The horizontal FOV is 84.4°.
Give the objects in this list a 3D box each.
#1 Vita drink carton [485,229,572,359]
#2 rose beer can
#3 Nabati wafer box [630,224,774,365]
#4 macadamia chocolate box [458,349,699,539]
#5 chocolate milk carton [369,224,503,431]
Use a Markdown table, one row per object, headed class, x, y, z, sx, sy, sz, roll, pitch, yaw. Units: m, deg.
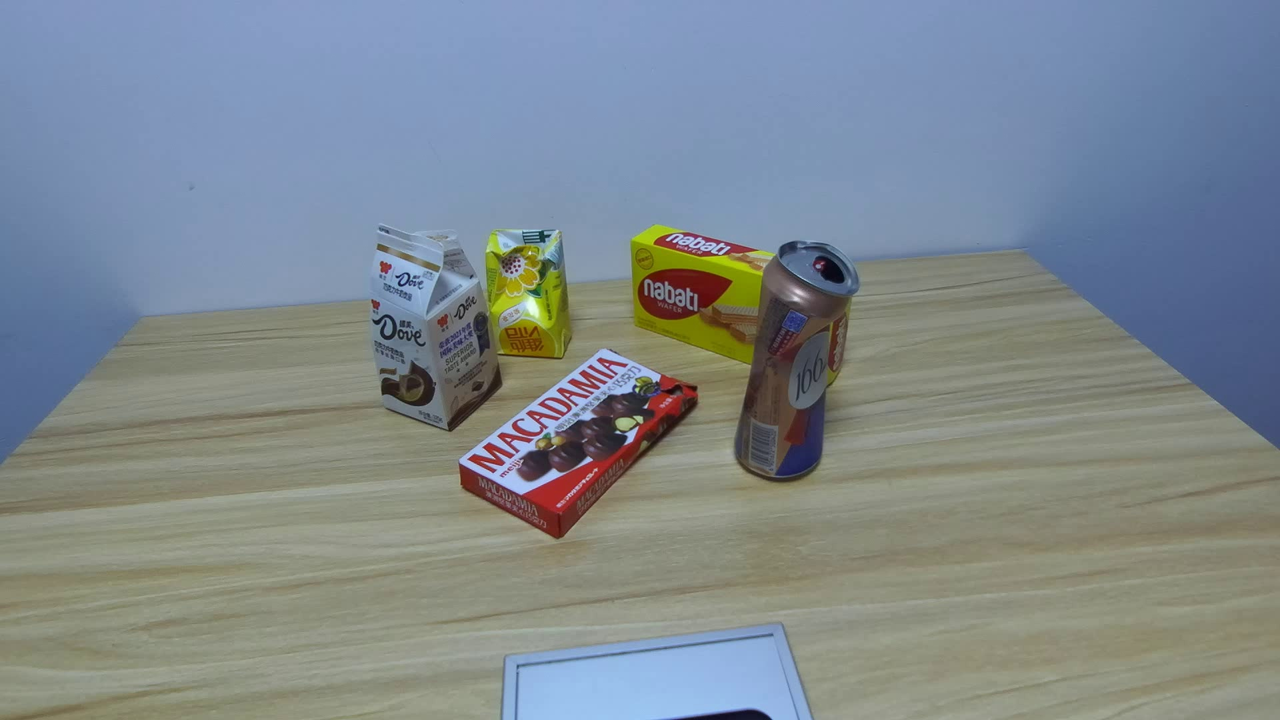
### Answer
| class | x | y | z | sx | sy | sz | roll | pitch | yaw |
| --- | --- | --- | --- | --- | --- | --- | --- | --- | --- |
| Vita drink carton | -0.102 | -0.058 | 0.638 | 0.071 | 0.110 | 0.046 | 3 | 31 | 11 |
| rose beer can | 0.103 | 0.004 | 0.483 | 0.070 | 0.168 | 0.069 | -5 | 34 | -12 |
| Nabati wafer box | 0.085 | -0.051 | 0.629 | 0.202 | 0.093 | 0.042 | 19 | 38 | 28 |
| macadamia chocolate box | -0.038 | 0.053 | 0.546 | 0.102 | 0.027 | 0.187 | 22 | 41 | 26 |
| chocolate milk carton | -0.171 | -0.033 | 0.564 | 0.084 | 0.155 | 0.073 | 16 | 39 | 24 |
